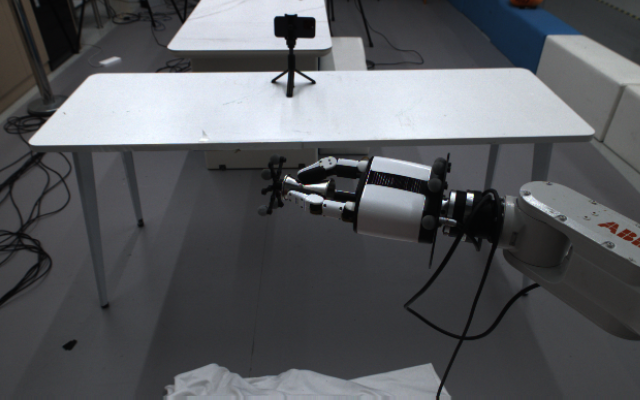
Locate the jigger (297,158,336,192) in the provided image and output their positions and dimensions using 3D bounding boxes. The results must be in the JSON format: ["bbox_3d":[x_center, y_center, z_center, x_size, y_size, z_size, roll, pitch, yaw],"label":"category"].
[{"bbox_3d":[-0.011,-0.017,0.696,0.071,0.043,0.043,9,35,17],"label":"jigger"}]
